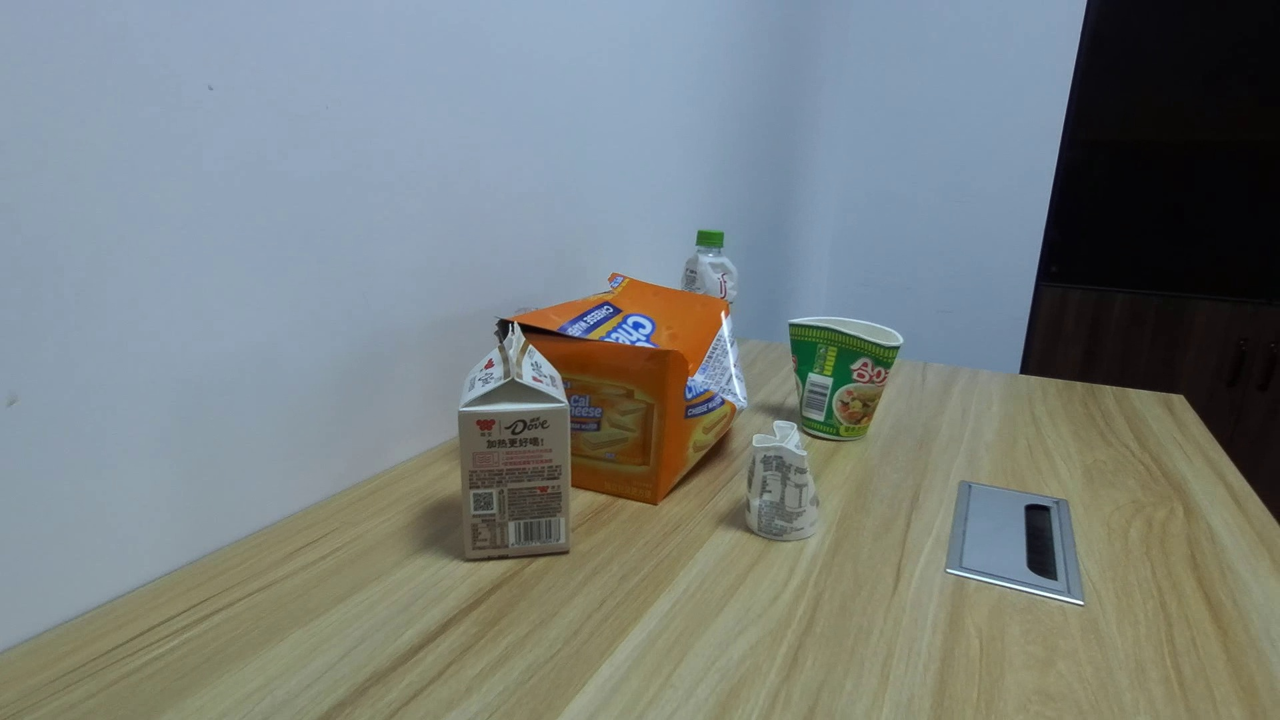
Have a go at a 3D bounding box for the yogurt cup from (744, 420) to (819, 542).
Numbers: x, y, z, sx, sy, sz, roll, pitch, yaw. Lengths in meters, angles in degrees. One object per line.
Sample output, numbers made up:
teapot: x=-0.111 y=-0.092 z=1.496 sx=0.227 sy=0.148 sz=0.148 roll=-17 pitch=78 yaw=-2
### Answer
yogurt cup: x=0.105 y=0.089 z=0.523 sx=0.055 sy=0.072 sz=0.055 roll=9 pitch=19 yaw=32

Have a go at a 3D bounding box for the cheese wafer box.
cheese wafer box: x=0.005 y=0.012 z=0.655 sx=0.190 sy=0.145 sz=0.219 roll=8 pitch=17 yaw=22

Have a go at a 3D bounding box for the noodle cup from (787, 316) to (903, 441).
noodle cup: x=0.200 y=0.018 z=0.706 sx=0.070 sy=0.111 sz=0.114 roll=-6 pitch=18 yaw=-19

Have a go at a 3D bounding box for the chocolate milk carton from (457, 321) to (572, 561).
chocolate milk carton: x=-0.087 y=0.052 z=0.495 sx=0.074 sy=0.148 sz=0.075 roll=-1 pitch=17 yaw=-10

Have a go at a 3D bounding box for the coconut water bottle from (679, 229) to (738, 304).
coconut water bottle: x=0.078 y=-0.055 z=0.815 sx=0.067 sy=0.187 sz=0.067 roll=2 pitch=13 yaw=0
